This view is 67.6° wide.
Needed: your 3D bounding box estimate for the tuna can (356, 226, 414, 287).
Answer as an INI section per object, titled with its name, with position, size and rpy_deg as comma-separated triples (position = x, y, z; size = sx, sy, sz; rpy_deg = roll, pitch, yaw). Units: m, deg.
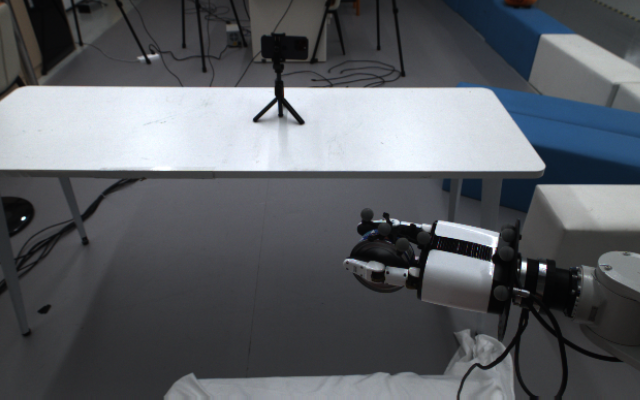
[tuna can]
position = 0.089, 0.081, 0.667
size = 0.085, 0.085, 0.034
rpy_deg = 16, 29, 19
